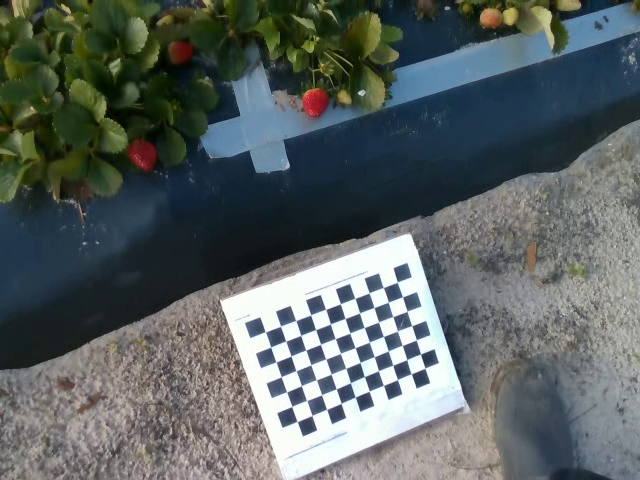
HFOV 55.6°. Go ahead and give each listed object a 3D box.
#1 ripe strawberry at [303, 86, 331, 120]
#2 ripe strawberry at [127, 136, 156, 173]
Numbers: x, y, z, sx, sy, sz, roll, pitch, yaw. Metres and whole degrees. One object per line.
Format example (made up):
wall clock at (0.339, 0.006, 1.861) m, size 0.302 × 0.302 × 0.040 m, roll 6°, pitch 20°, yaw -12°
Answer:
ripe strawberry at (-0.002, -0.093, 0.408) m, size 0.023 × 0.026 × 0.021 m, roll -10°, pitch -39°, yaw 12°
ripe strawberry at (-0.111, -0.053, 0.379) m, size 0.018 × 0.023 × 0.021 m, roll -27°, pitch -24°, yaw 6°
